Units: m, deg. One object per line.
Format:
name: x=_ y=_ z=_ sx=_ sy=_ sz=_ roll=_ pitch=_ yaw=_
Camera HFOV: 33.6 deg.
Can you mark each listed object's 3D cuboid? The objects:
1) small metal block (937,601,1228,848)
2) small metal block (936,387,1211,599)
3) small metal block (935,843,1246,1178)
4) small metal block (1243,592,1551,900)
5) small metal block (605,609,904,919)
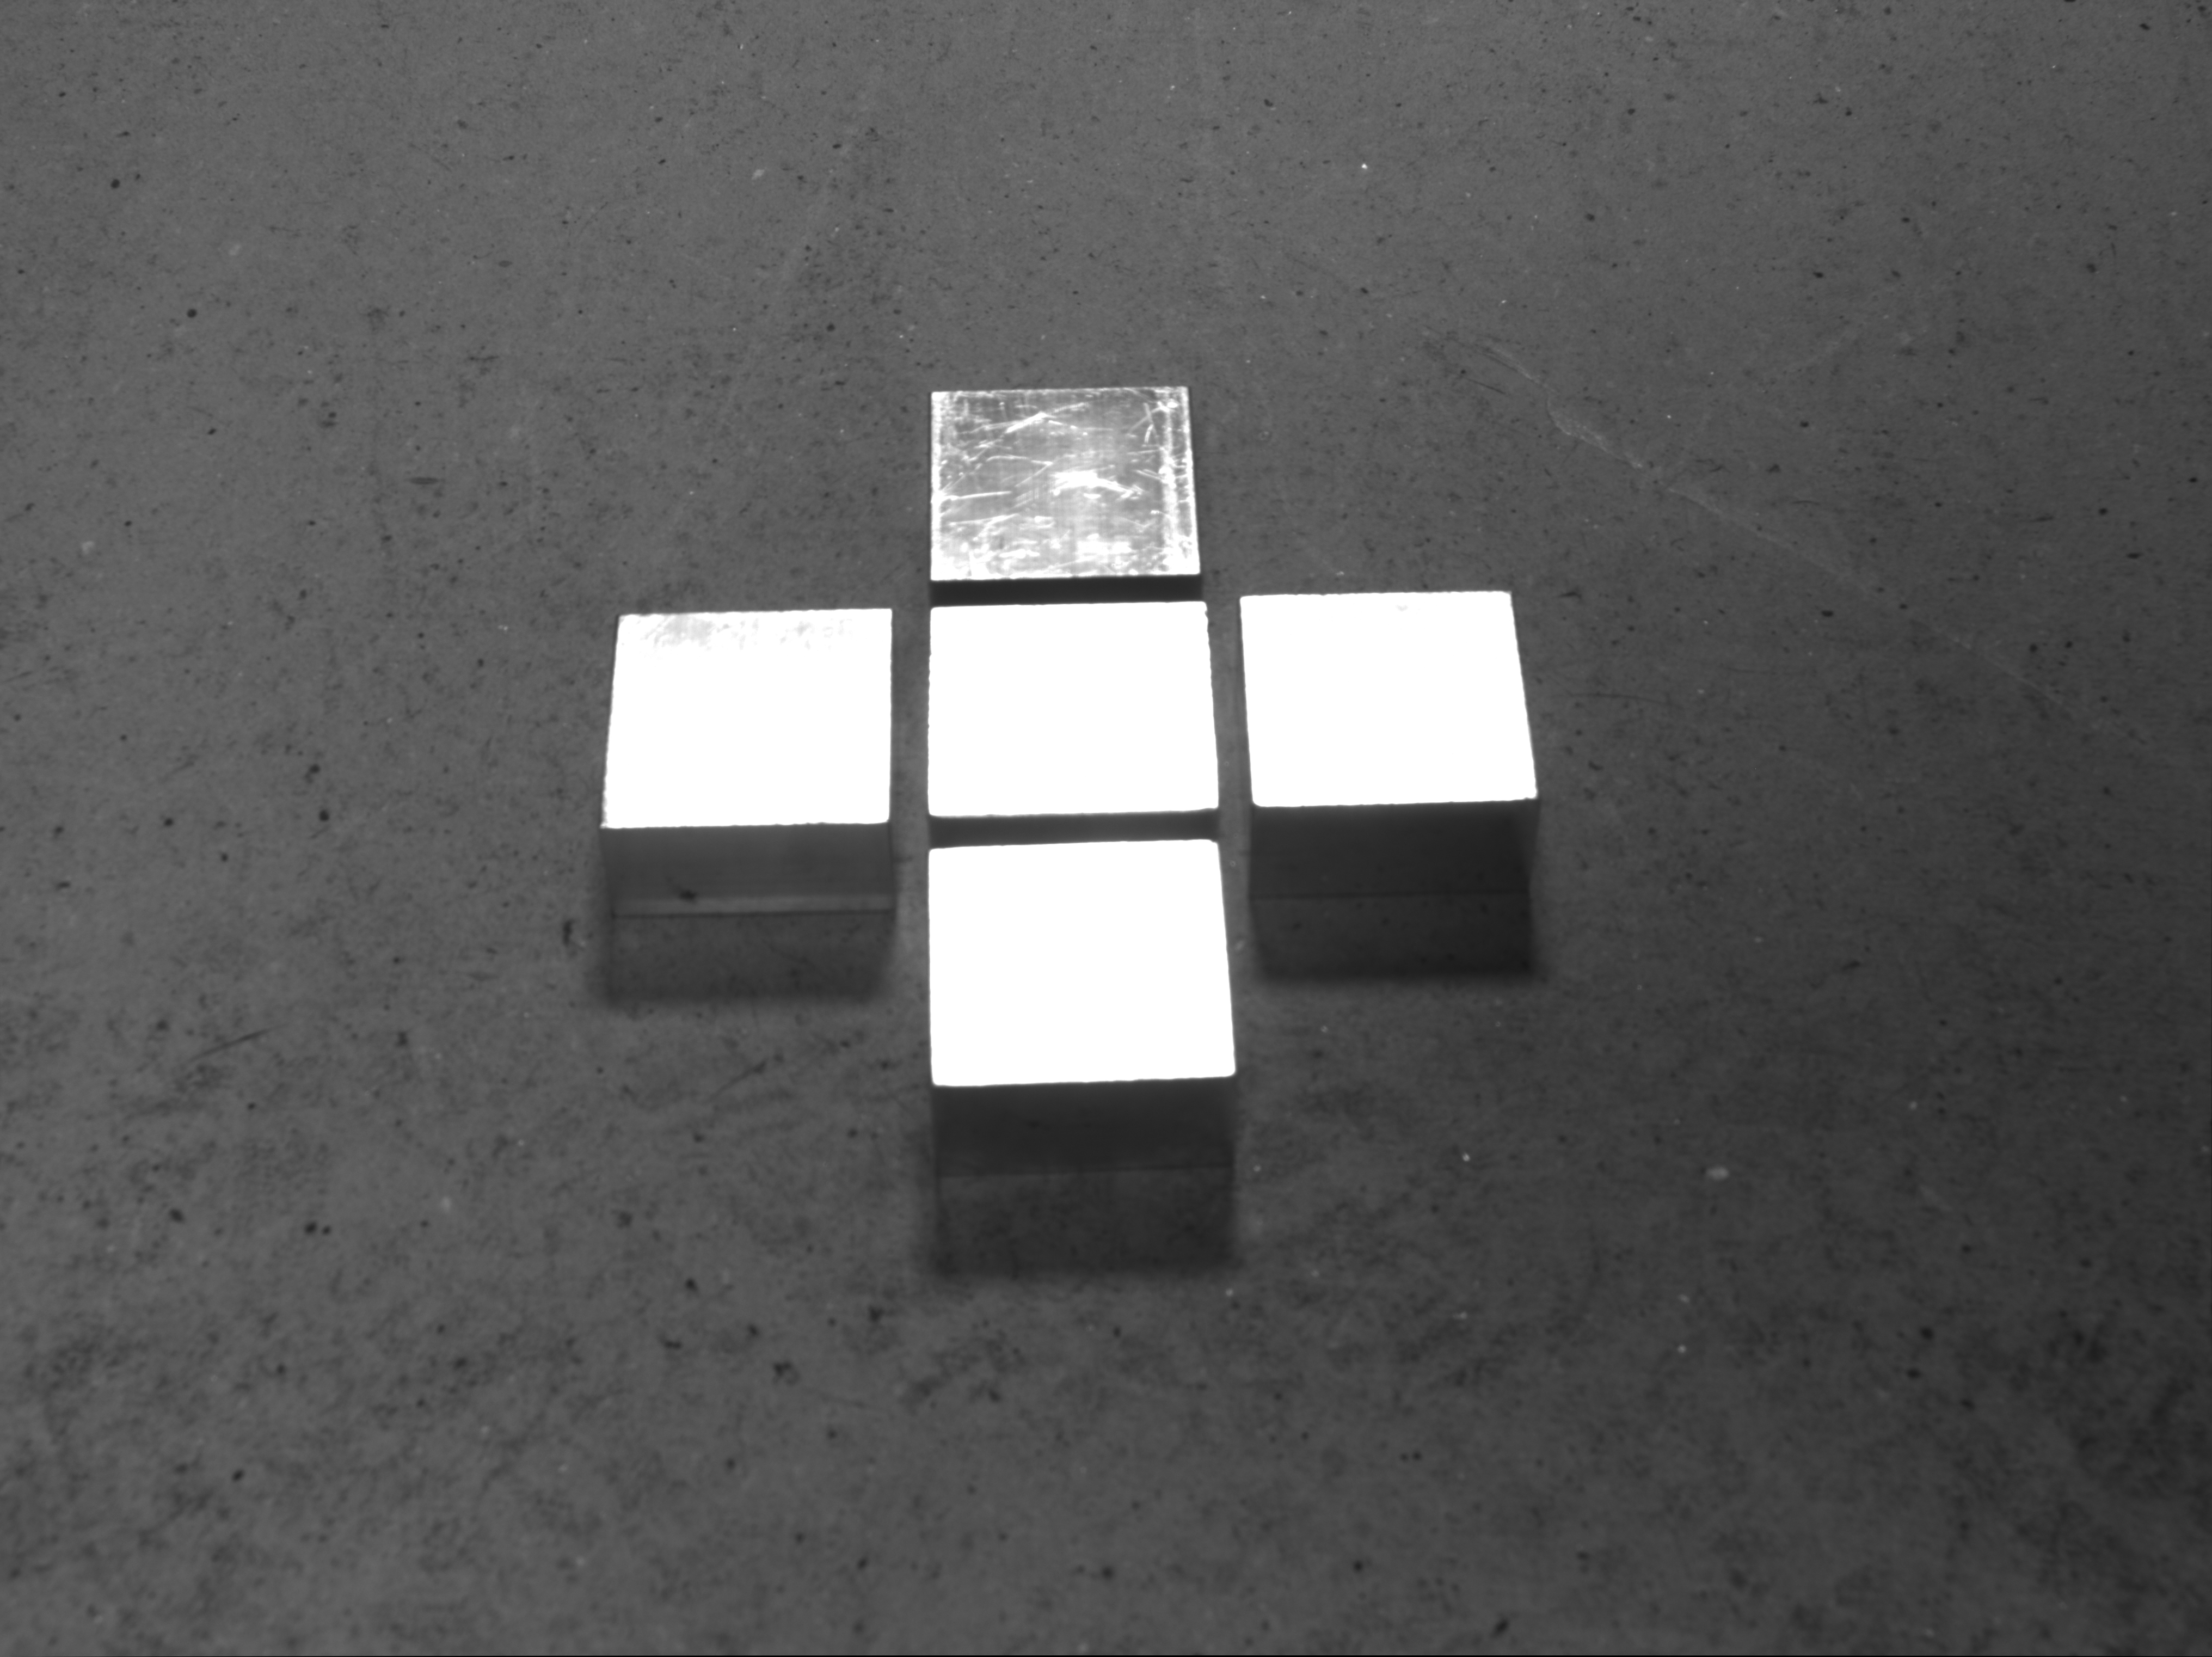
small metal block: x=-0.005 y=-0.013 z=0.654 sx=0.050 sy=0.025 sz=0.050 roll=-1 pitch=50 yaw=-1
small metal block: x=-0.006 y=-0.056 z=0.690 sx=0.050 sy=0.025 sz=0.050 roll=-1 pitch=50 yaw=-1
small metal block: x=-0.003 y=0.030 z=0.617 sx=0.050 sy=0.025 sz=0.050 roll=-2 pitch=50 yaw=-1
small metal block: x=0.051 y=-0.015 z=0.655 sx=0.050 sy=0.025 sz=0.050 roll=-1 pitch=50 yaw=-1
small metal block: x=-0.061 y=-0.012 z=0.652 sx=0.050 sy=0.025 sz=0.050 roll=-1 pitch=50 yaw=-1
